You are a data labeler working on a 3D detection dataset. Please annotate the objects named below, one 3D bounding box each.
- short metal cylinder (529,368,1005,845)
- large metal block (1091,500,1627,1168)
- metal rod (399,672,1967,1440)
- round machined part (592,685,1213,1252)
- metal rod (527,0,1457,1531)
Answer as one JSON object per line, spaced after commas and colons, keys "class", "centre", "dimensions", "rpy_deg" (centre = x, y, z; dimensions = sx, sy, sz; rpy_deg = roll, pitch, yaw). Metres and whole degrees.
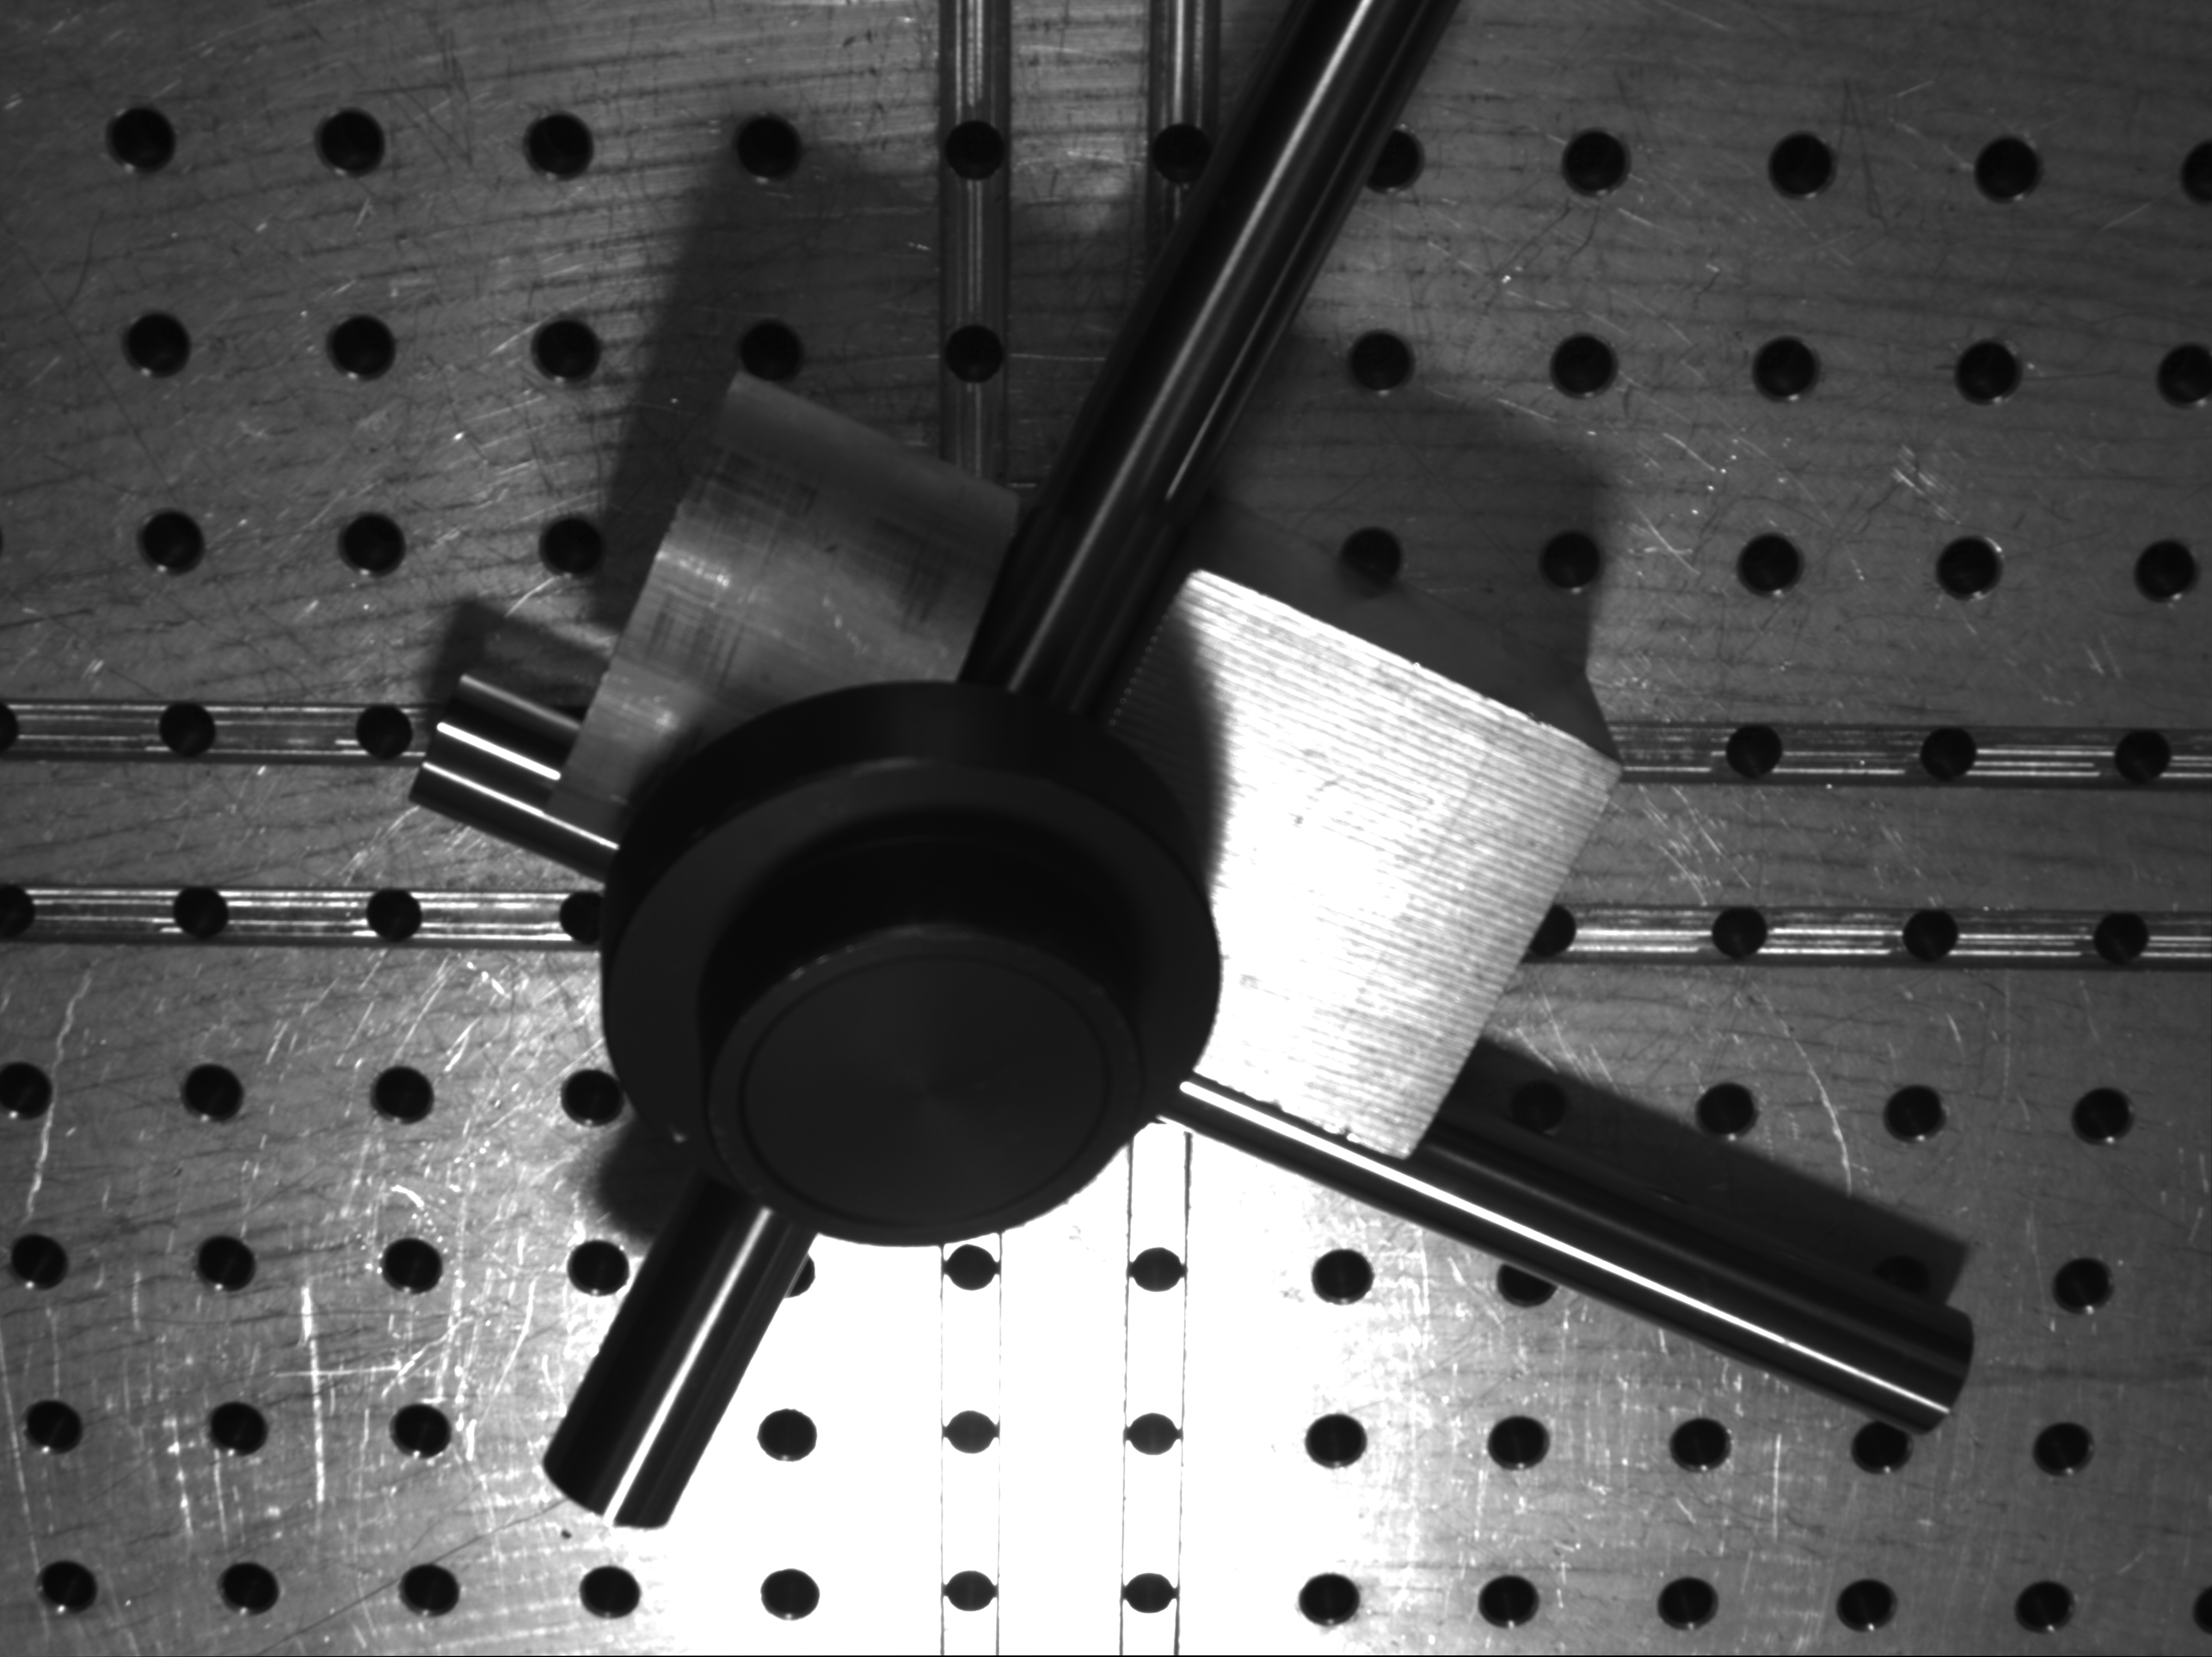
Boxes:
{"class": "short metal cylinder", "centre": [-0.056, -0.029, 0.604], "dimensions": [0.050, 0.080, 0.080], "rpy_deg": [24, 108, -9]}
{"class": "large metal block", "centre": [0.032, -0.001, 0.629], "dimensions": [0.080, 0.050, 0.080], "rpy_deg": [24, 108, -9]}
{"class": "metal rod", "centre": [0.018, 0.043, 0.661], "dimensions": [0.300, 0.025, 0.025], "rpy_deg": [24, 108, -9]}
{"class": "round machined part", "centre": [-0.032, 0.028, 0.577], "dimensions": [0.098, 0.042, 0.098], "rpy_deg": [-5, 130, -5]}
{"class": "metal rod", "centre": [-0.021, -0.014, 0.620], "dimensions": [0.025, 0.025, 0.300], "rpy_deg": [26, 100, -10]}
